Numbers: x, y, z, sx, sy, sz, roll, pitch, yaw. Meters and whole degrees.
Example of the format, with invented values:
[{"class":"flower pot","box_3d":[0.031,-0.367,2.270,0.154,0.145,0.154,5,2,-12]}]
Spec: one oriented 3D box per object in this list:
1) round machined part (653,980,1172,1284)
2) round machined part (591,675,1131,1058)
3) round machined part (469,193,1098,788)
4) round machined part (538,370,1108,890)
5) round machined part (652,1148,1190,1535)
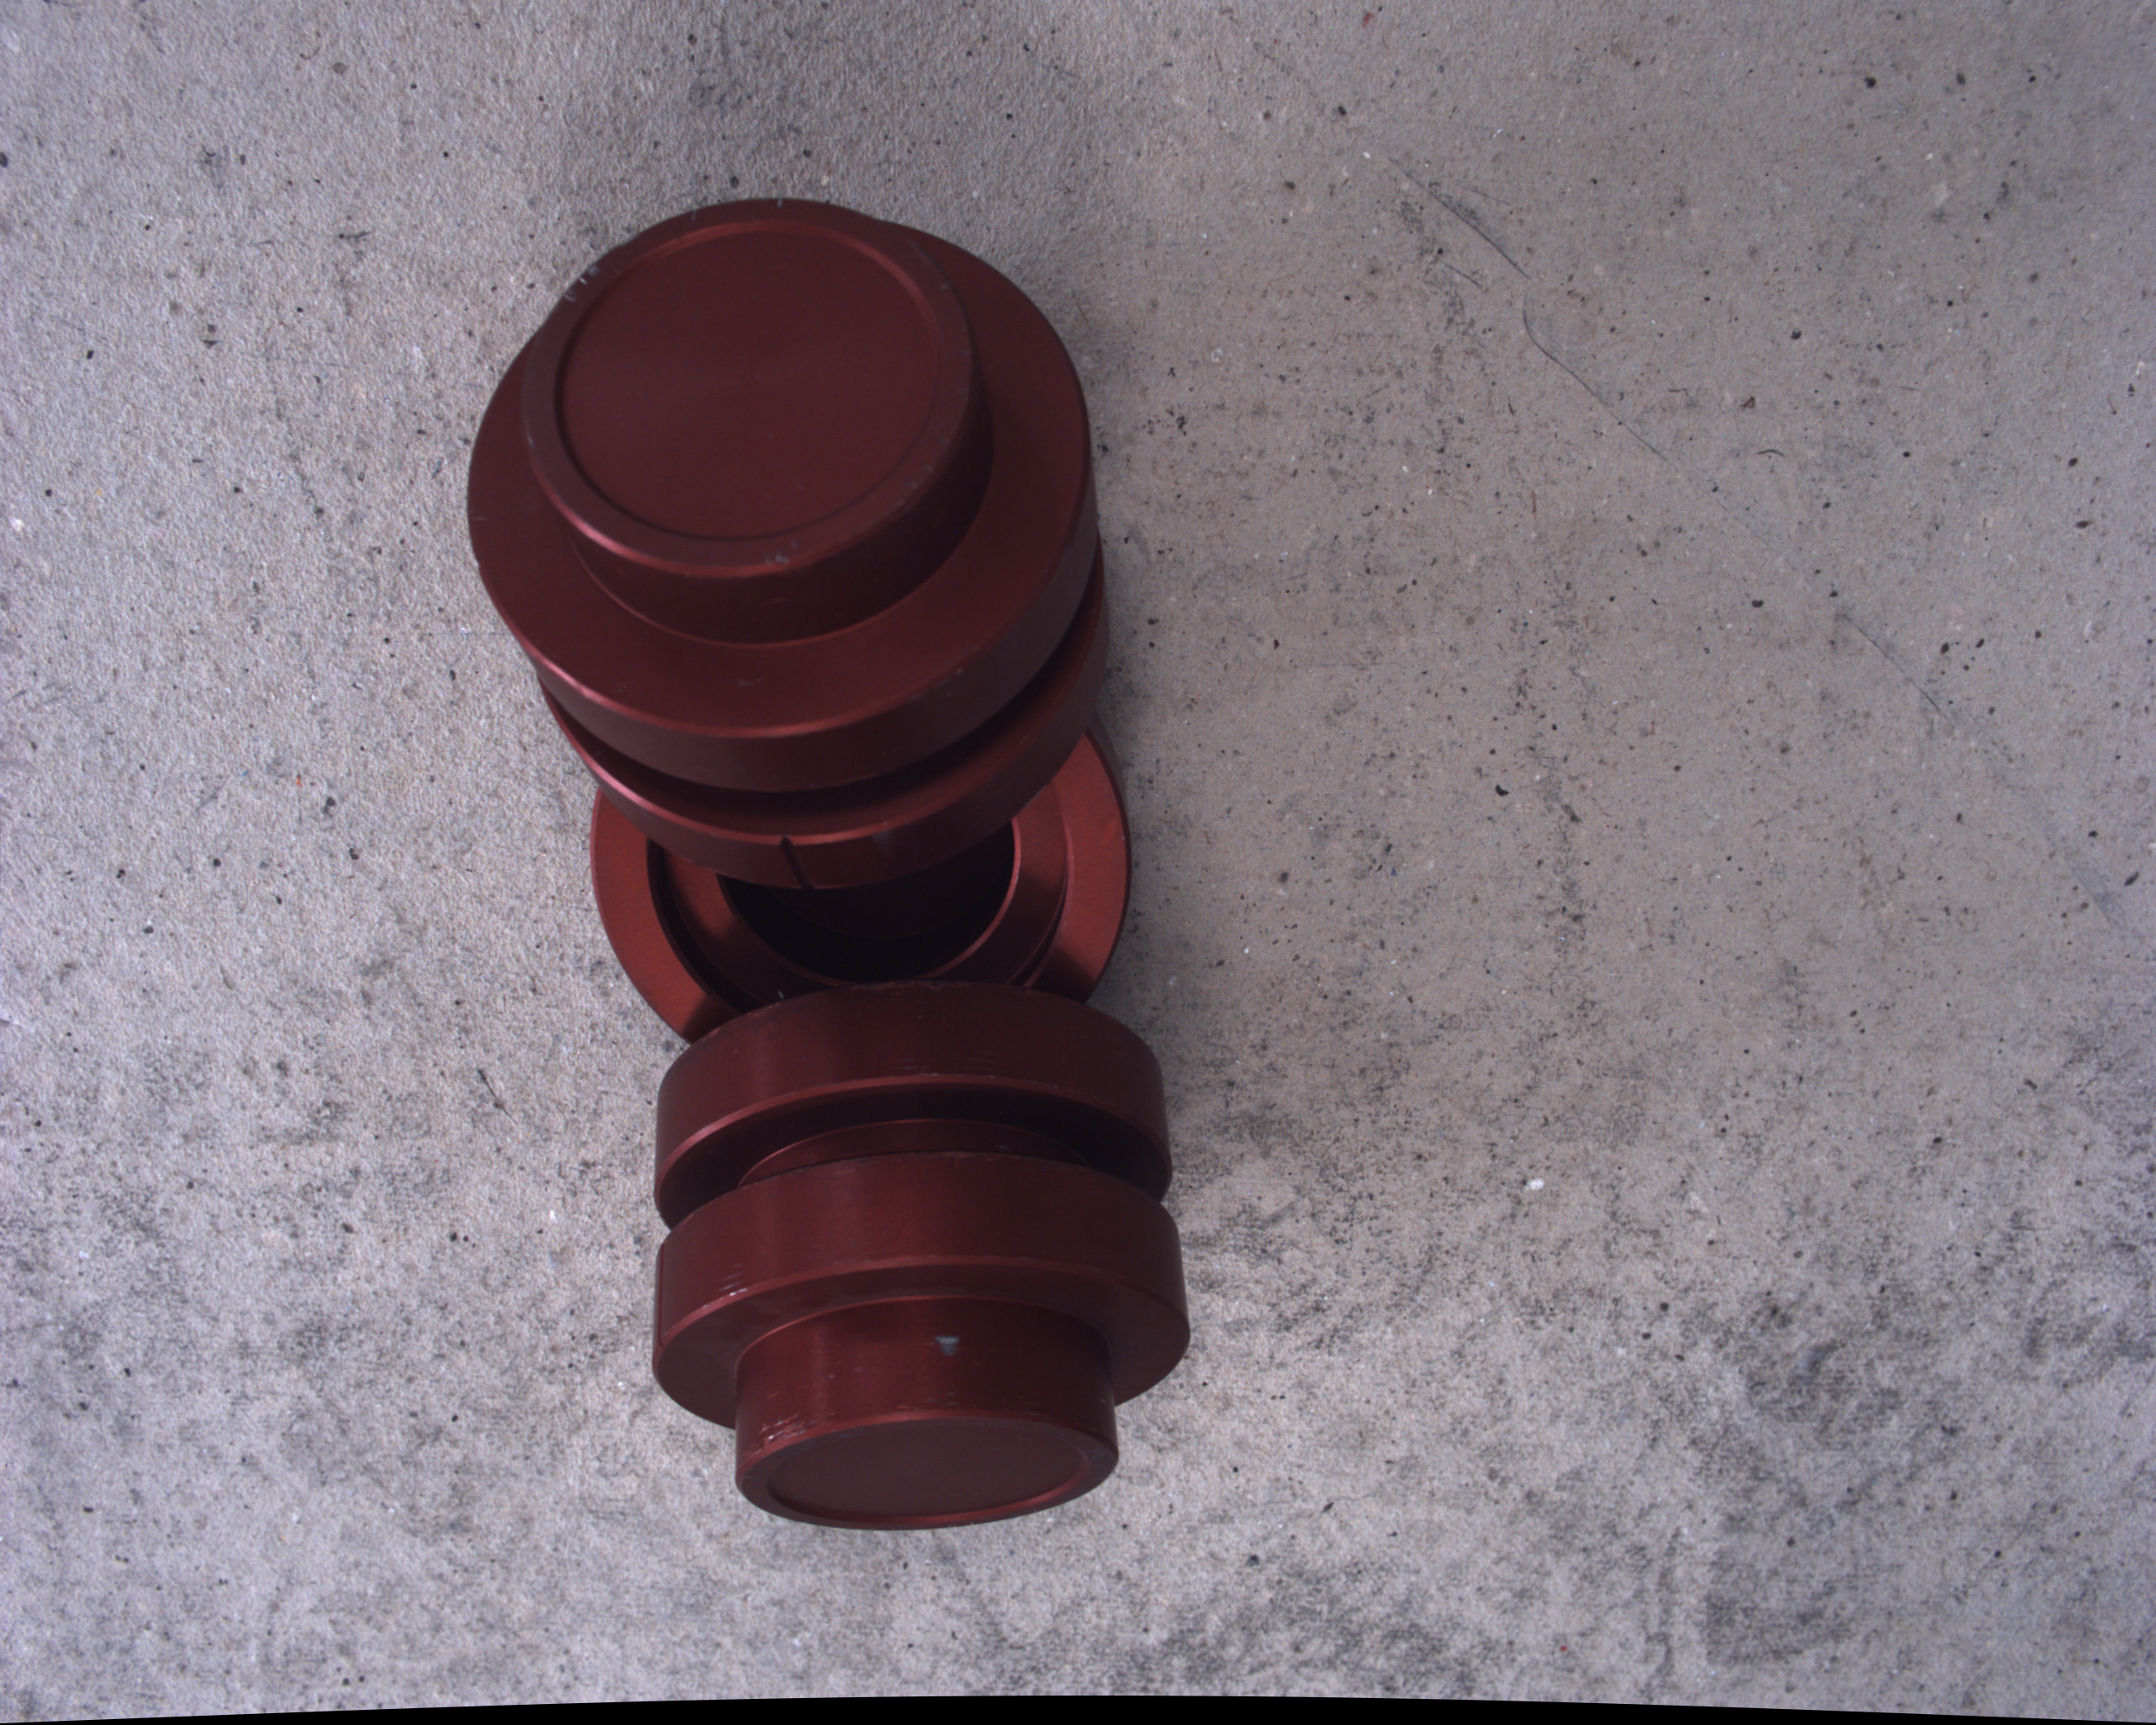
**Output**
[{"class":"round machined part","box_3d":[-0.031,0.065,0.399,0.099,0.042,0.098,-4,147,-2]},{"class":"round machined part","box_3d":[-0.040,-0.007,0.400,0.099,0.042,0.097,0,110,0]},{"class":"round machined part","box_3d":[-0.047,-0.064,0.326,0.099,0.042,0.098,-1,67,3]},{"class":"round machined part","box_3d":[-0.045,-0.048,0.354,0.099,0.042,0.098,-1,67,3]},{"class":"round machined part","box_3d":[-0.028,0.093,0.384,0.099,0.042,0.098,-4,146,-2]}]
